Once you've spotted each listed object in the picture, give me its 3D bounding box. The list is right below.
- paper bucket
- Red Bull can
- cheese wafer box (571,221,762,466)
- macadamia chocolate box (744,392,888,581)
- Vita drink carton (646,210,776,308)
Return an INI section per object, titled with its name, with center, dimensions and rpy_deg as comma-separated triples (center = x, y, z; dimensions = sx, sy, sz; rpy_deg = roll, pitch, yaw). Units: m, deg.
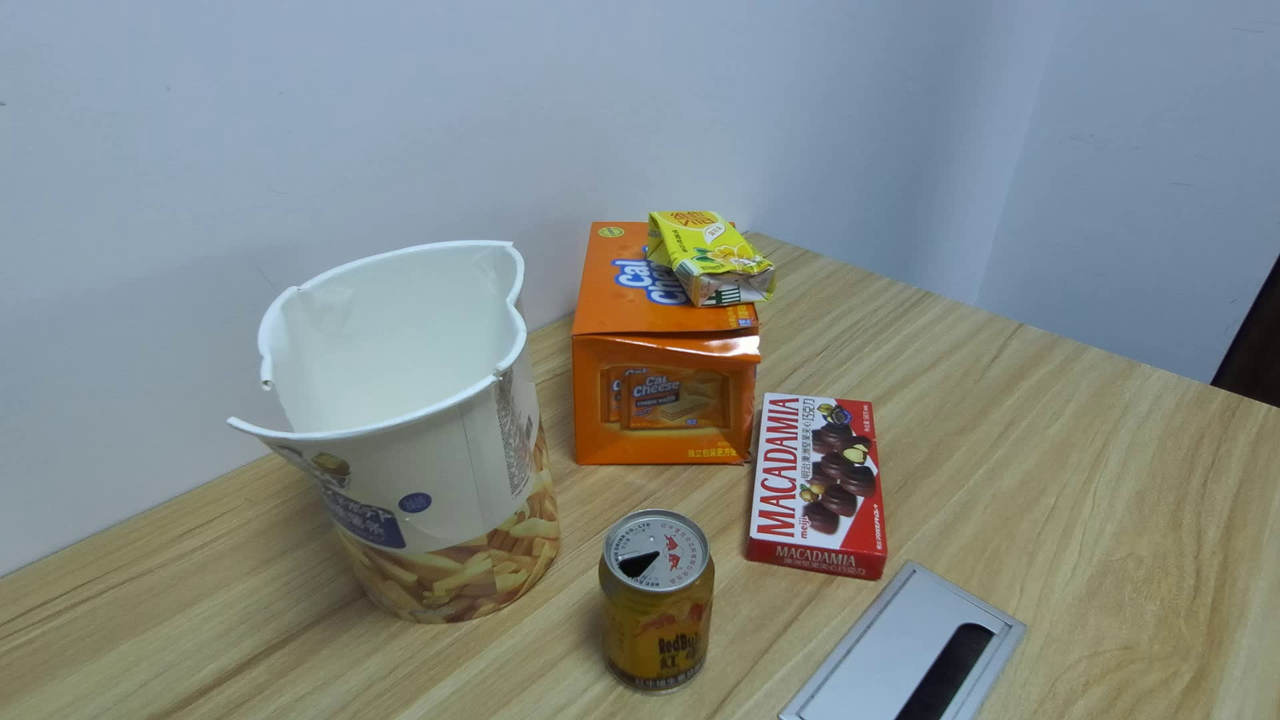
[paper bucket]
center = -0.134, 0.053, 0.462
dimensions = 0.146, 0.197, 0.202
rpy_deg = -9, 34, -9
[Red Bull can]
center = 0.010, 0.143, 0.419
dimensions = 0.068, 0.093, 0.068
rpy_deg = 0, 33, 0
[cheese wafer box]
center = 0.021, -0.025, 0.638
dimensions = 0.149, 0.137, 0.227
rpy_deg = 2, 32, 0
[macadamia chocolate box]
center = 0.138, 0.090, 0.558
dimensions = 0.095, 0.027, 0.178
rpy_deg = 6, 34, 10
[Vita drink carton]
center = 0.055, -0.081, 0.576
dimensions = 0.087, 0.042, 0.108
rpy_deg = -5, 35, -22
